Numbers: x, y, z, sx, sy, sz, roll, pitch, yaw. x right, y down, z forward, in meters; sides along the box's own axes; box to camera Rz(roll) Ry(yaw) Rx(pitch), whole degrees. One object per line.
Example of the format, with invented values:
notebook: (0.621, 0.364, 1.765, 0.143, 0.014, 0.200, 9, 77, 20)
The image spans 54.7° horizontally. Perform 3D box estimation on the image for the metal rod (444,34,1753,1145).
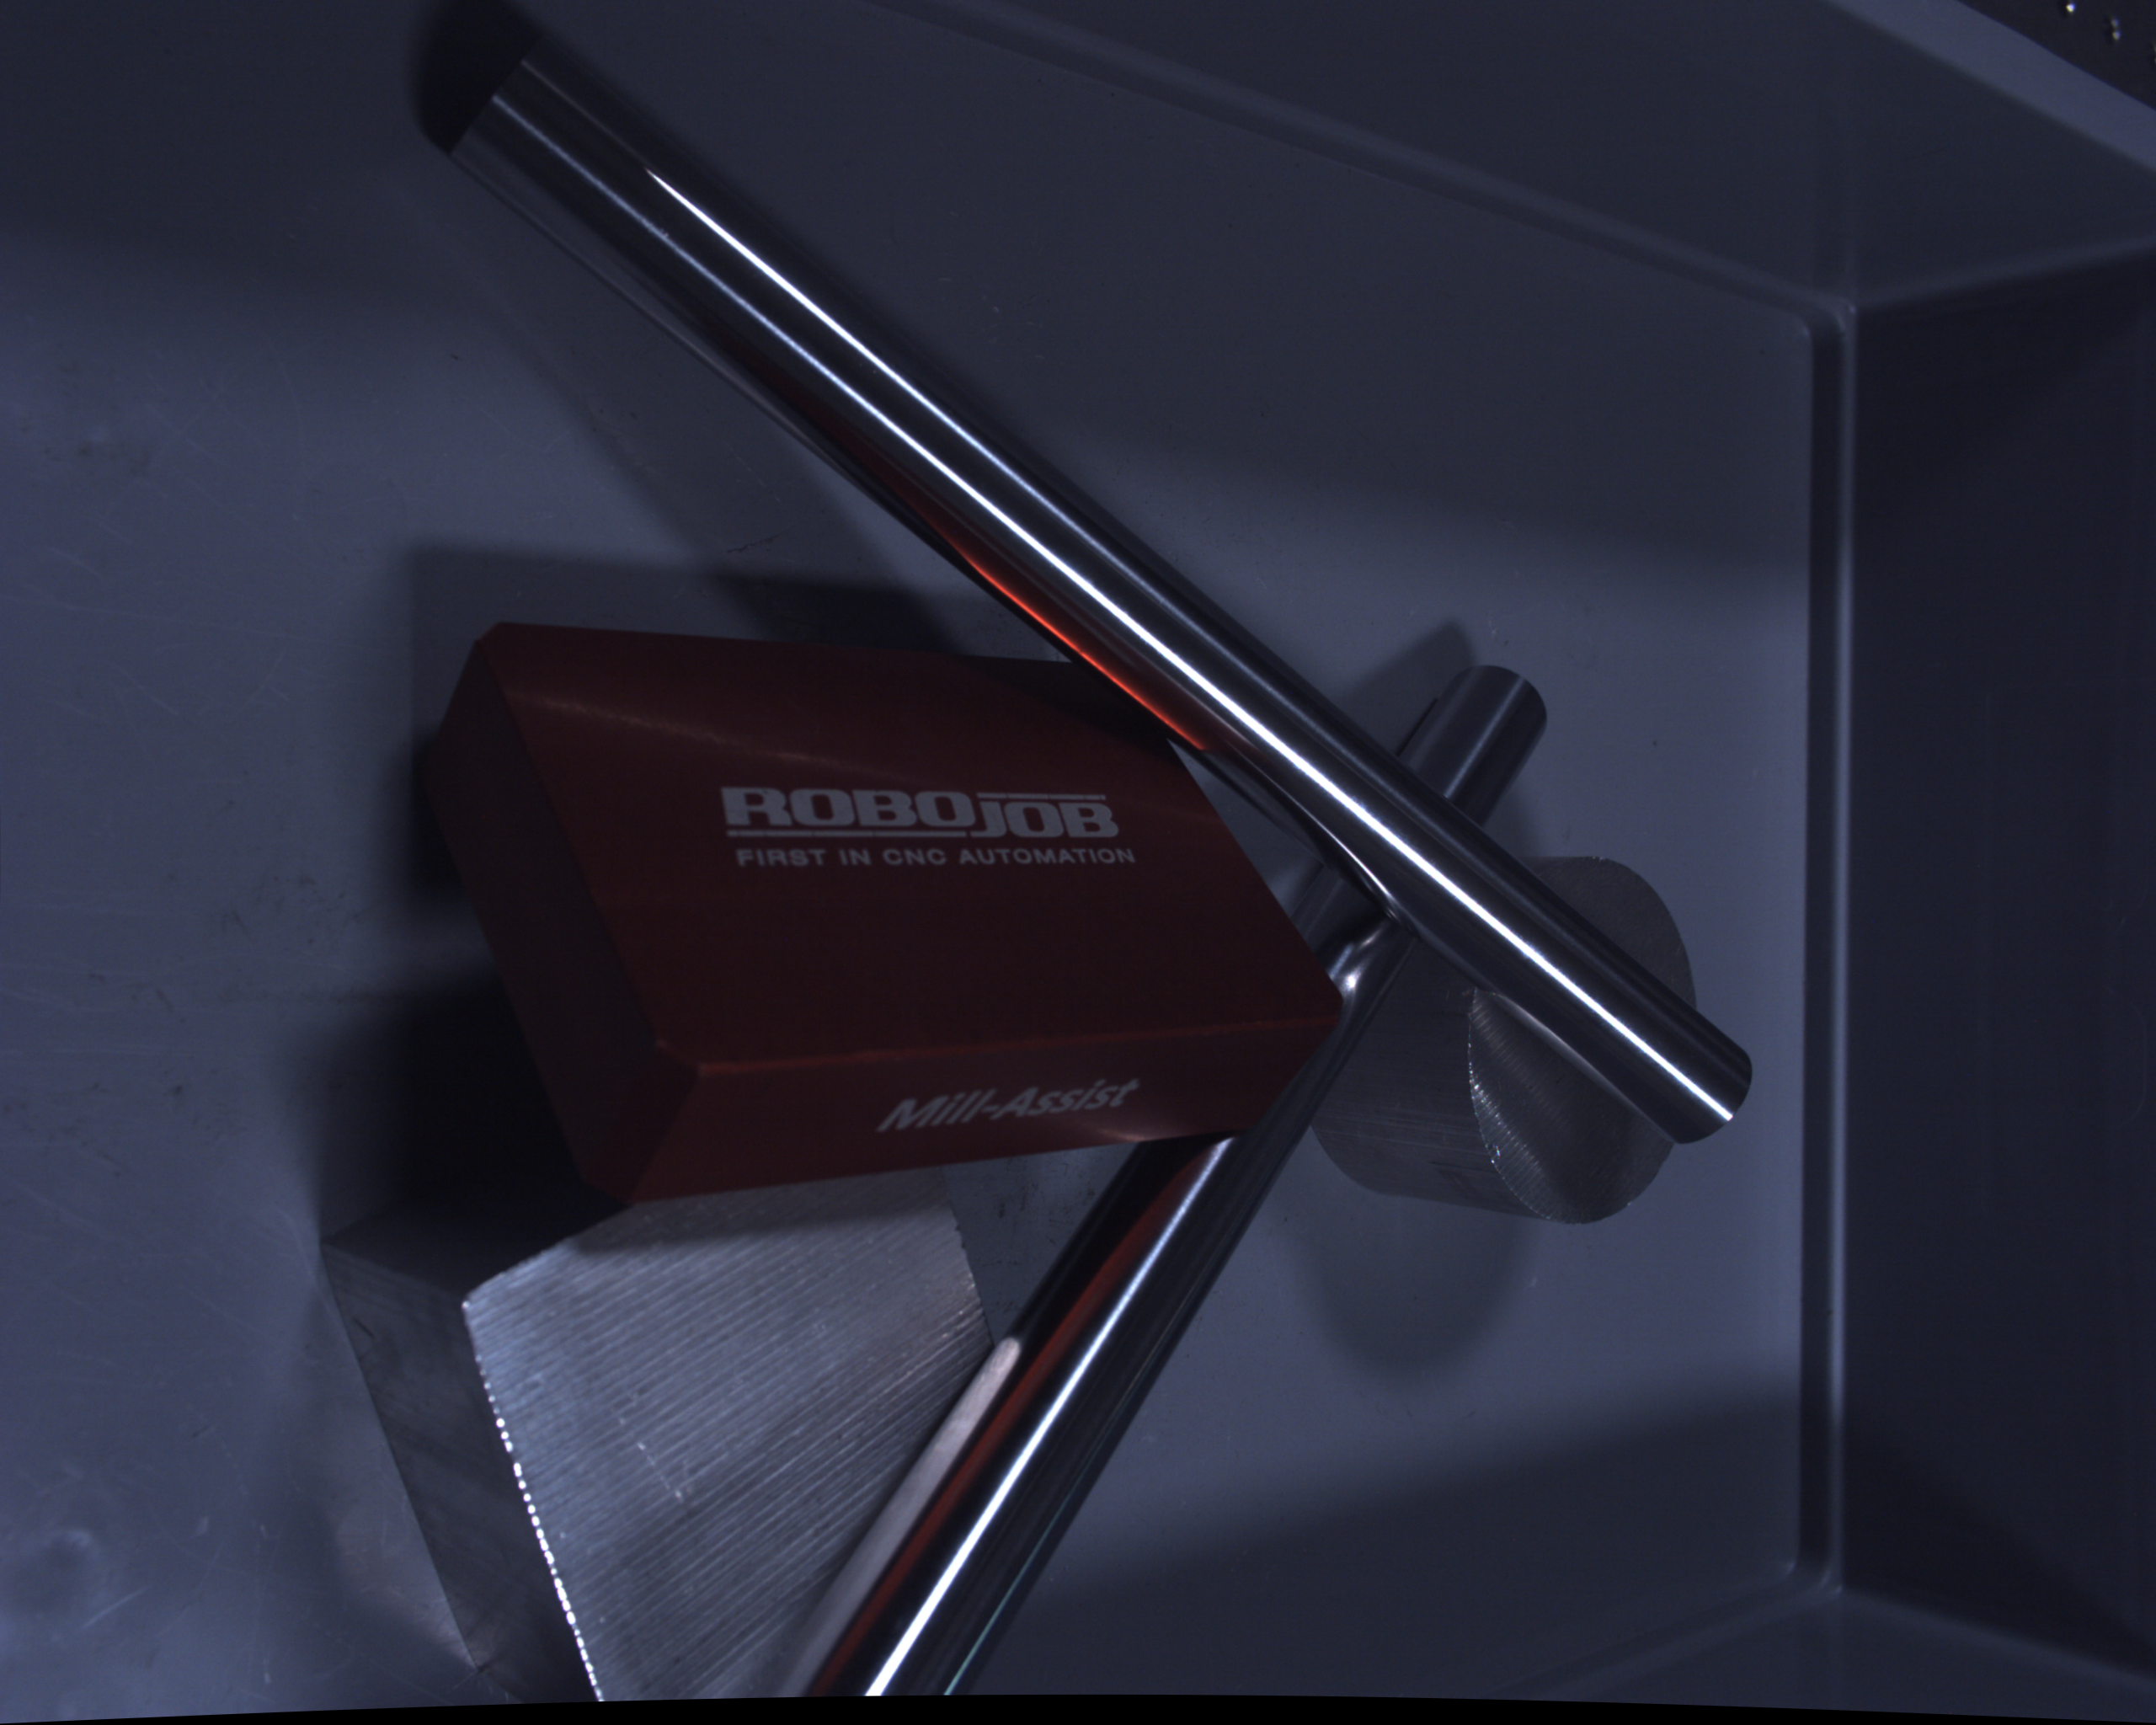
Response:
metal rod: (0.019, -0.037, 0.384, 0.301, 0.025, 0.025, 37, 67, -21)

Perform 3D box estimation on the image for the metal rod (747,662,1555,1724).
metal rod: (0.030, 0.047, 0.384, 0.301, 0.025, 0.025, -50, 121, -44)

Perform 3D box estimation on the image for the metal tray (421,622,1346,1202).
metal tray: (-0.029, 0.005, 0.342, 0.131, 0.030, 0.090, 0, 46, -39)

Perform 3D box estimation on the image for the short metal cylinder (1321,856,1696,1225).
short metal cylinder: (0.095, 0.038, 0.469, 0.081, 0.050, 0.079, 0, 90, -40)

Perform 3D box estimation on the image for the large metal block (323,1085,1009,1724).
large metal block: (-0.061, 0.084, 0.335, 0.081, 0.050, 0.080, -25, 106, -38)
